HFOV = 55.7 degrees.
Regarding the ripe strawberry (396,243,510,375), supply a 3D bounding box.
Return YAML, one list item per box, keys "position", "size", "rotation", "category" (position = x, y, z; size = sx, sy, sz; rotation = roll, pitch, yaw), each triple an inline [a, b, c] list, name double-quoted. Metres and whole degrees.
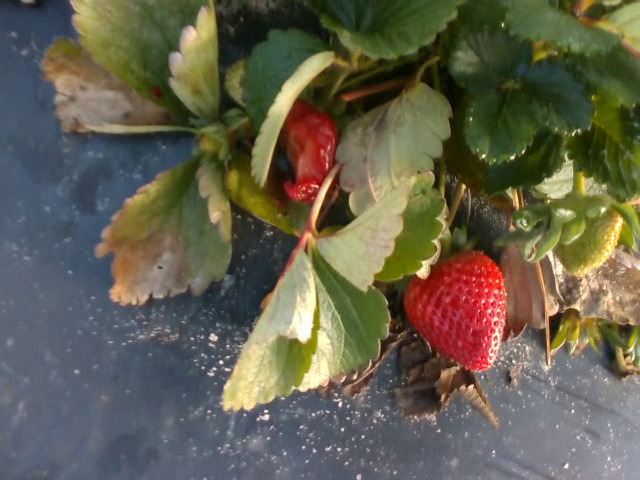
- position: [0.035, 0.020, 0.156]
  size: [0.032, 0.030, 0.026]
  rotation: [-16, -16, 0]
  category: "ripe strawberry"
